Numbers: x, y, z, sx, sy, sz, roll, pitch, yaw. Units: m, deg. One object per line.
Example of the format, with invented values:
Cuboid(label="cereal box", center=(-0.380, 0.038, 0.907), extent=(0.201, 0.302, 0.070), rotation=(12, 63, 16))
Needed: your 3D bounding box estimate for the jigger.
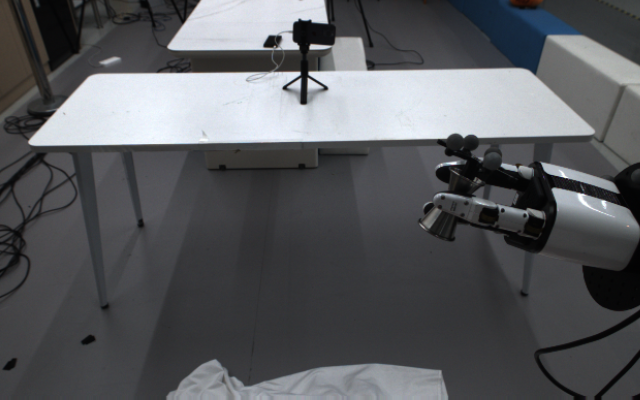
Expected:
Cuboid(label="jigger", center=(0.137, 0.003, 0.511), extent=(0.043, 0.071, 0.043), rotation=(23, 19, -8))
